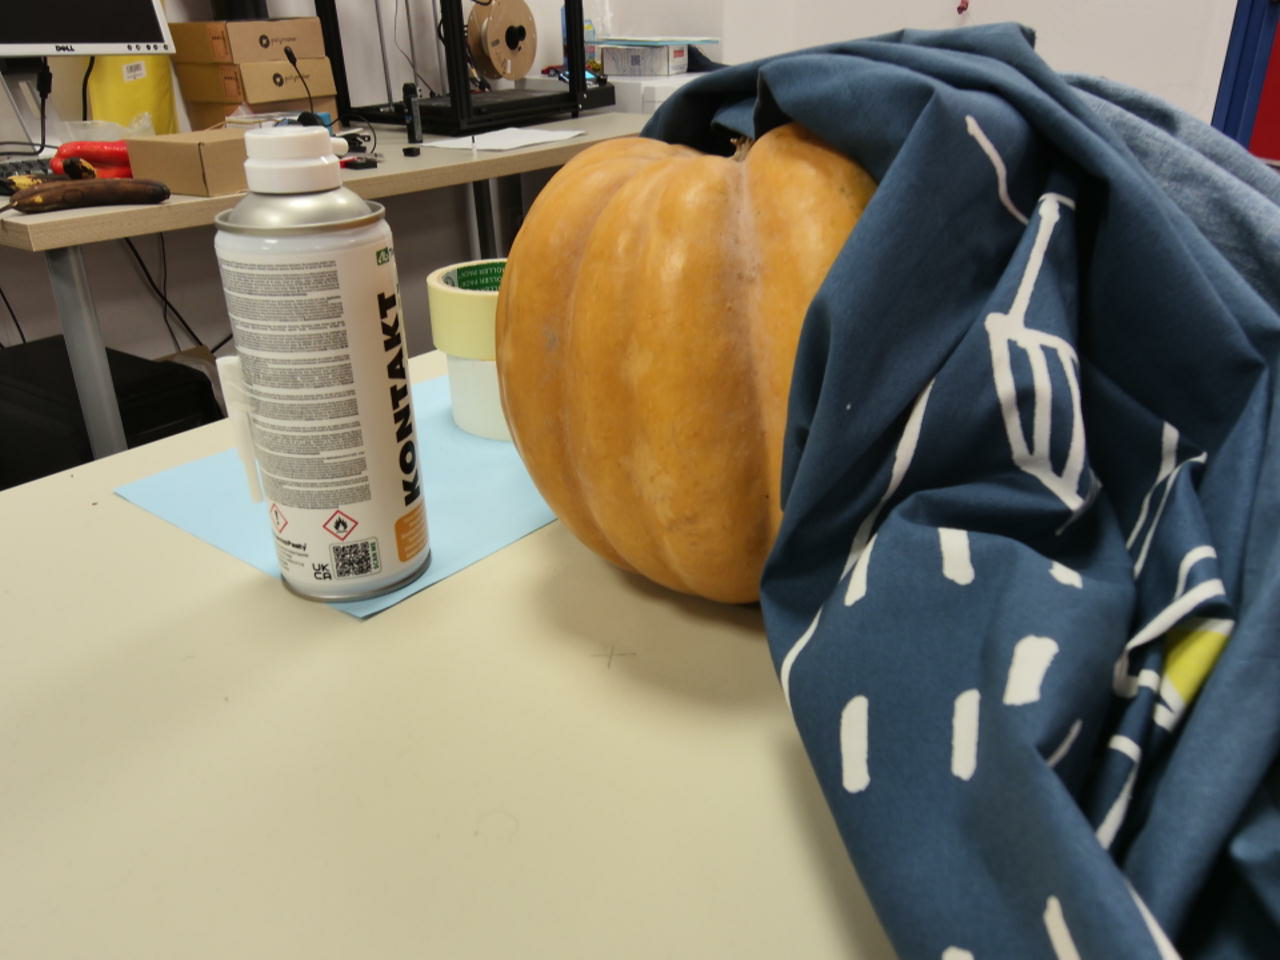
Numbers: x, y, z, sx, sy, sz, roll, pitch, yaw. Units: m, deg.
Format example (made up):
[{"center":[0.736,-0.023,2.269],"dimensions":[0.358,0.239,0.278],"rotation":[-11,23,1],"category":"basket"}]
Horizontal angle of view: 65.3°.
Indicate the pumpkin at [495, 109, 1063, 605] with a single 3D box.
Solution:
[{"center":[0.053,-0.052,0.415],"dimensions":[0.230,0.194,0.230],"rotation":[1,23,0],"category":"pumpkin"}]
